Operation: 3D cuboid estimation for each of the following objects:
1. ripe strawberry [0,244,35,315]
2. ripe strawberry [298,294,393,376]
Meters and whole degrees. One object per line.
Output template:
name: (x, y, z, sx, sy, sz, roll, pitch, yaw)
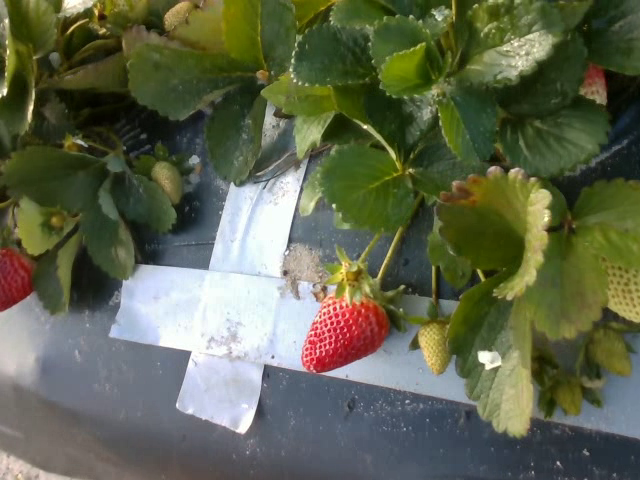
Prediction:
ripe strawberry: (-0.102, 0.014, 0.203, 0.018, 0.023, 0.020, -2, -22, 46)
ripe strawberry: (0.004, 0.024, 0.151, 0.023, 0.026, 0.021, 25, -19, 49)
